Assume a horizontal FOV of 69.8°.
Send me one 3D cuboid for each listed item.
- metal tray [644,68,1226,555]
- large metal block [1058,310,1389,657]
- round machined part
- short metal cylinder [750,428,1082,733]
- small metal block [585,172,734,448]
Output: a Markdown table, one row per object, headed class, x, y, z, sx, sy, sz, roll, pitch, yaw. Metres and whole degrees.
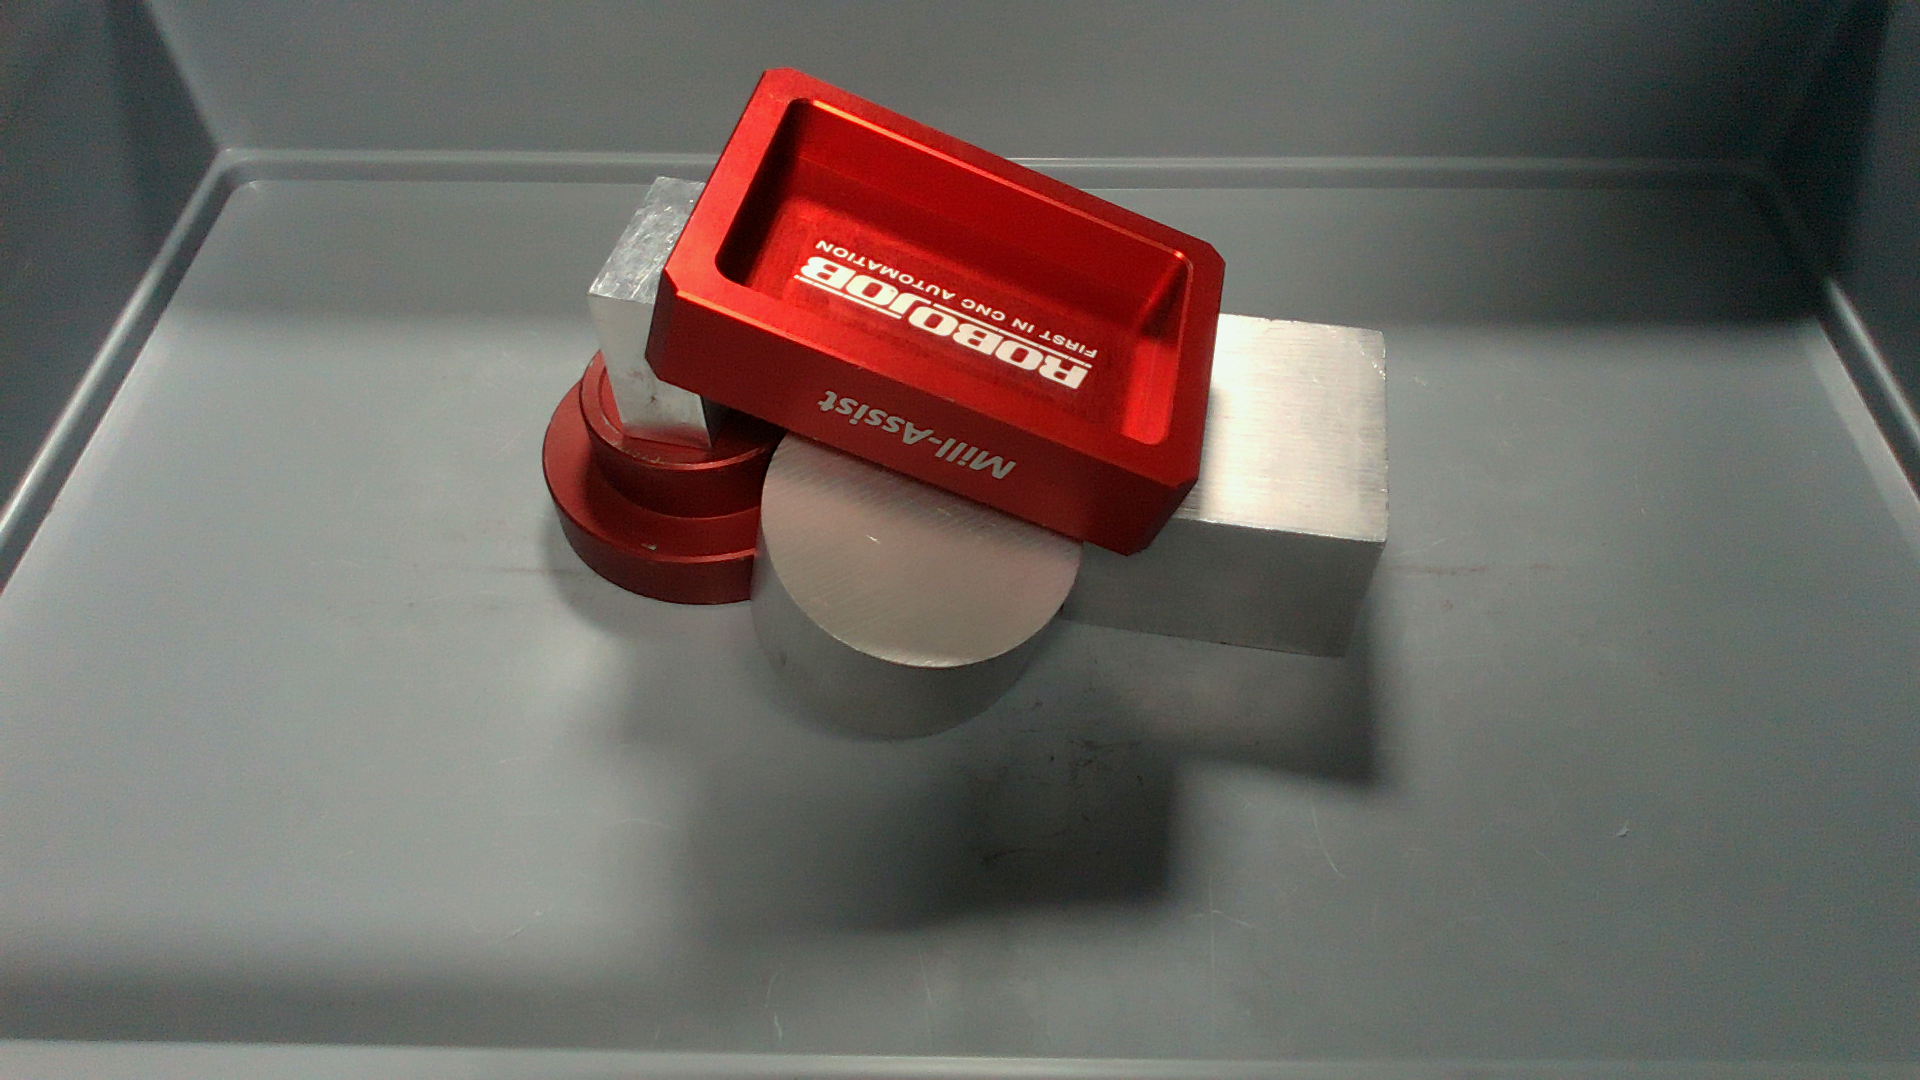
| class | x | y | z | sx | sy | sz | roll | pitch | yaw |
| --- | --- | --- | --- | --- | --- | --- | --- | --- | --- |
| metal tray | -0.001 | -0.059 | 0.344 | 0.130 | 0.030 | 0.090 | 20 | 50 | -8 |
| large metal block | 0.074 | -0.019 | 0.388 | 0.080 | 0.050 | 0.080 | 8 | 50 | 6 |
| round machined part | -0.074 | -0.032 | 0.406 | 0.098 | 0.042 | 0.098 | 0 | 50 | 0 |
| short metal cylinder | -0.014 | 0.004 | 0.355 | 0.080 | 0.050 | 0.080 | 5 | 62 | -10 |
| small metal block | -0.074 | -0.062 | 0.371 | 0.025 | 0.050 | 0.050 | 9 | 51 | 8 |
